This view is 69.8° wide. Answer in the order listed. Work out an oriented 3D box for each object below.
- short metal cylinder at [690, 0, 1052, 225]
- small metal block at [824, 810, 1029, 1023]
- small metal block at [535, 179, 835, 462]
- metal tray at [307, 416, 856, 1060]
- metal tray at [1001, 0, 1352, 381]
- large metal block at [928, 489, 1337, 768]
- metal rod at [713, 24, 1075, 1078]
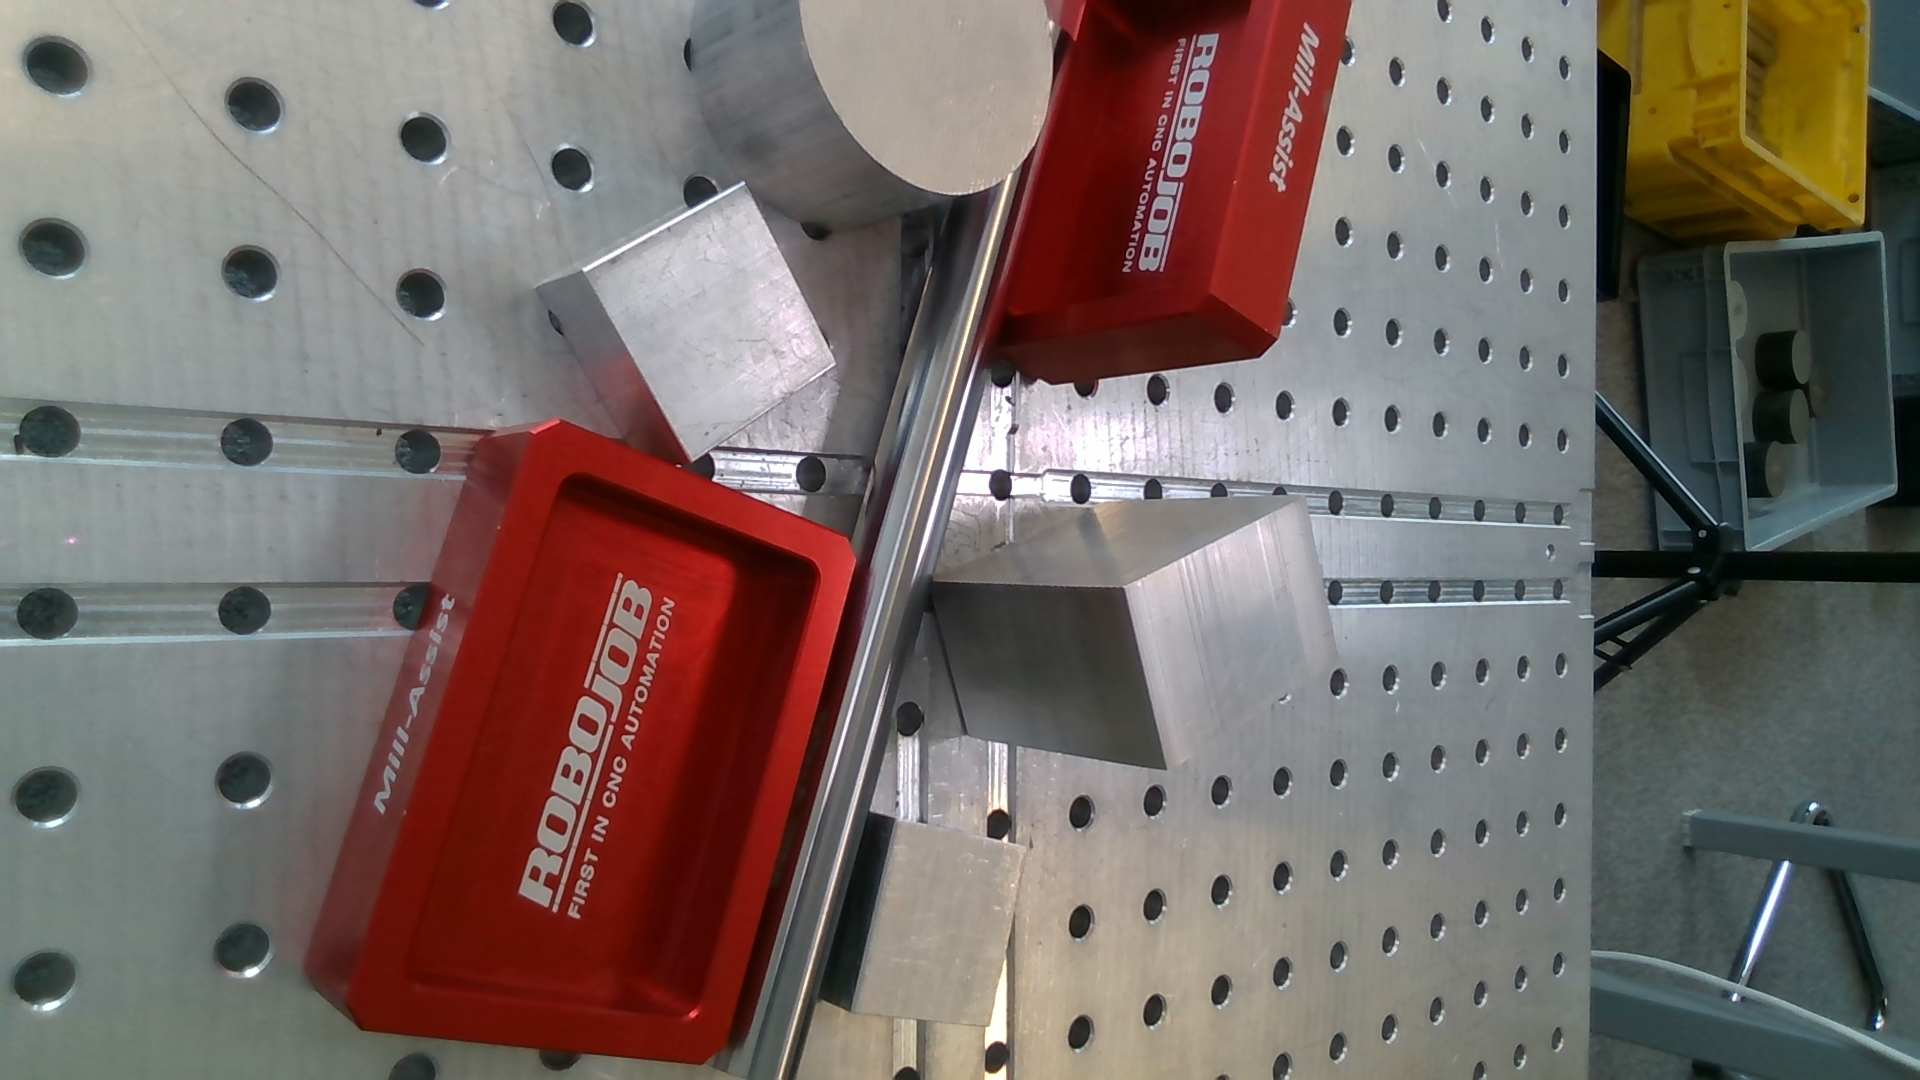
[{"bbox_3d":[-0.022,-0.127,0.358,0.080,0.050,0.080,0,90,-40],"label":"short metal cylinder"},{"bbox_3d":[-0.012,0.104,0.384,0.050,0.025,0.050,22,76,-38],"label":"small metal block"},{"bbox_3d":[-0.066,-0.053,0.339,0.050,0.025,0.050,-40,114,-33],"label":"small metal block"},{"bbox_3d":[-0.083,0.047,0.321,0.090,0.030,0.130,23,75,-38],"label":"metal tray"},{"bbox_3d":[0.060,-0.115,0.401,0.030,0.090,0.130,24,75,-38],"label":"metal tray"},{"bbox_3d":[0.049,0.022,0.402,0.080,0.080,0.050,-24,105,-38],"label":"large metal block"},{"bbox_3d":[-0.016,-0.008,0.381,0.025,0.025,0.299,25,75,-37],"label":"metal rod"}]
